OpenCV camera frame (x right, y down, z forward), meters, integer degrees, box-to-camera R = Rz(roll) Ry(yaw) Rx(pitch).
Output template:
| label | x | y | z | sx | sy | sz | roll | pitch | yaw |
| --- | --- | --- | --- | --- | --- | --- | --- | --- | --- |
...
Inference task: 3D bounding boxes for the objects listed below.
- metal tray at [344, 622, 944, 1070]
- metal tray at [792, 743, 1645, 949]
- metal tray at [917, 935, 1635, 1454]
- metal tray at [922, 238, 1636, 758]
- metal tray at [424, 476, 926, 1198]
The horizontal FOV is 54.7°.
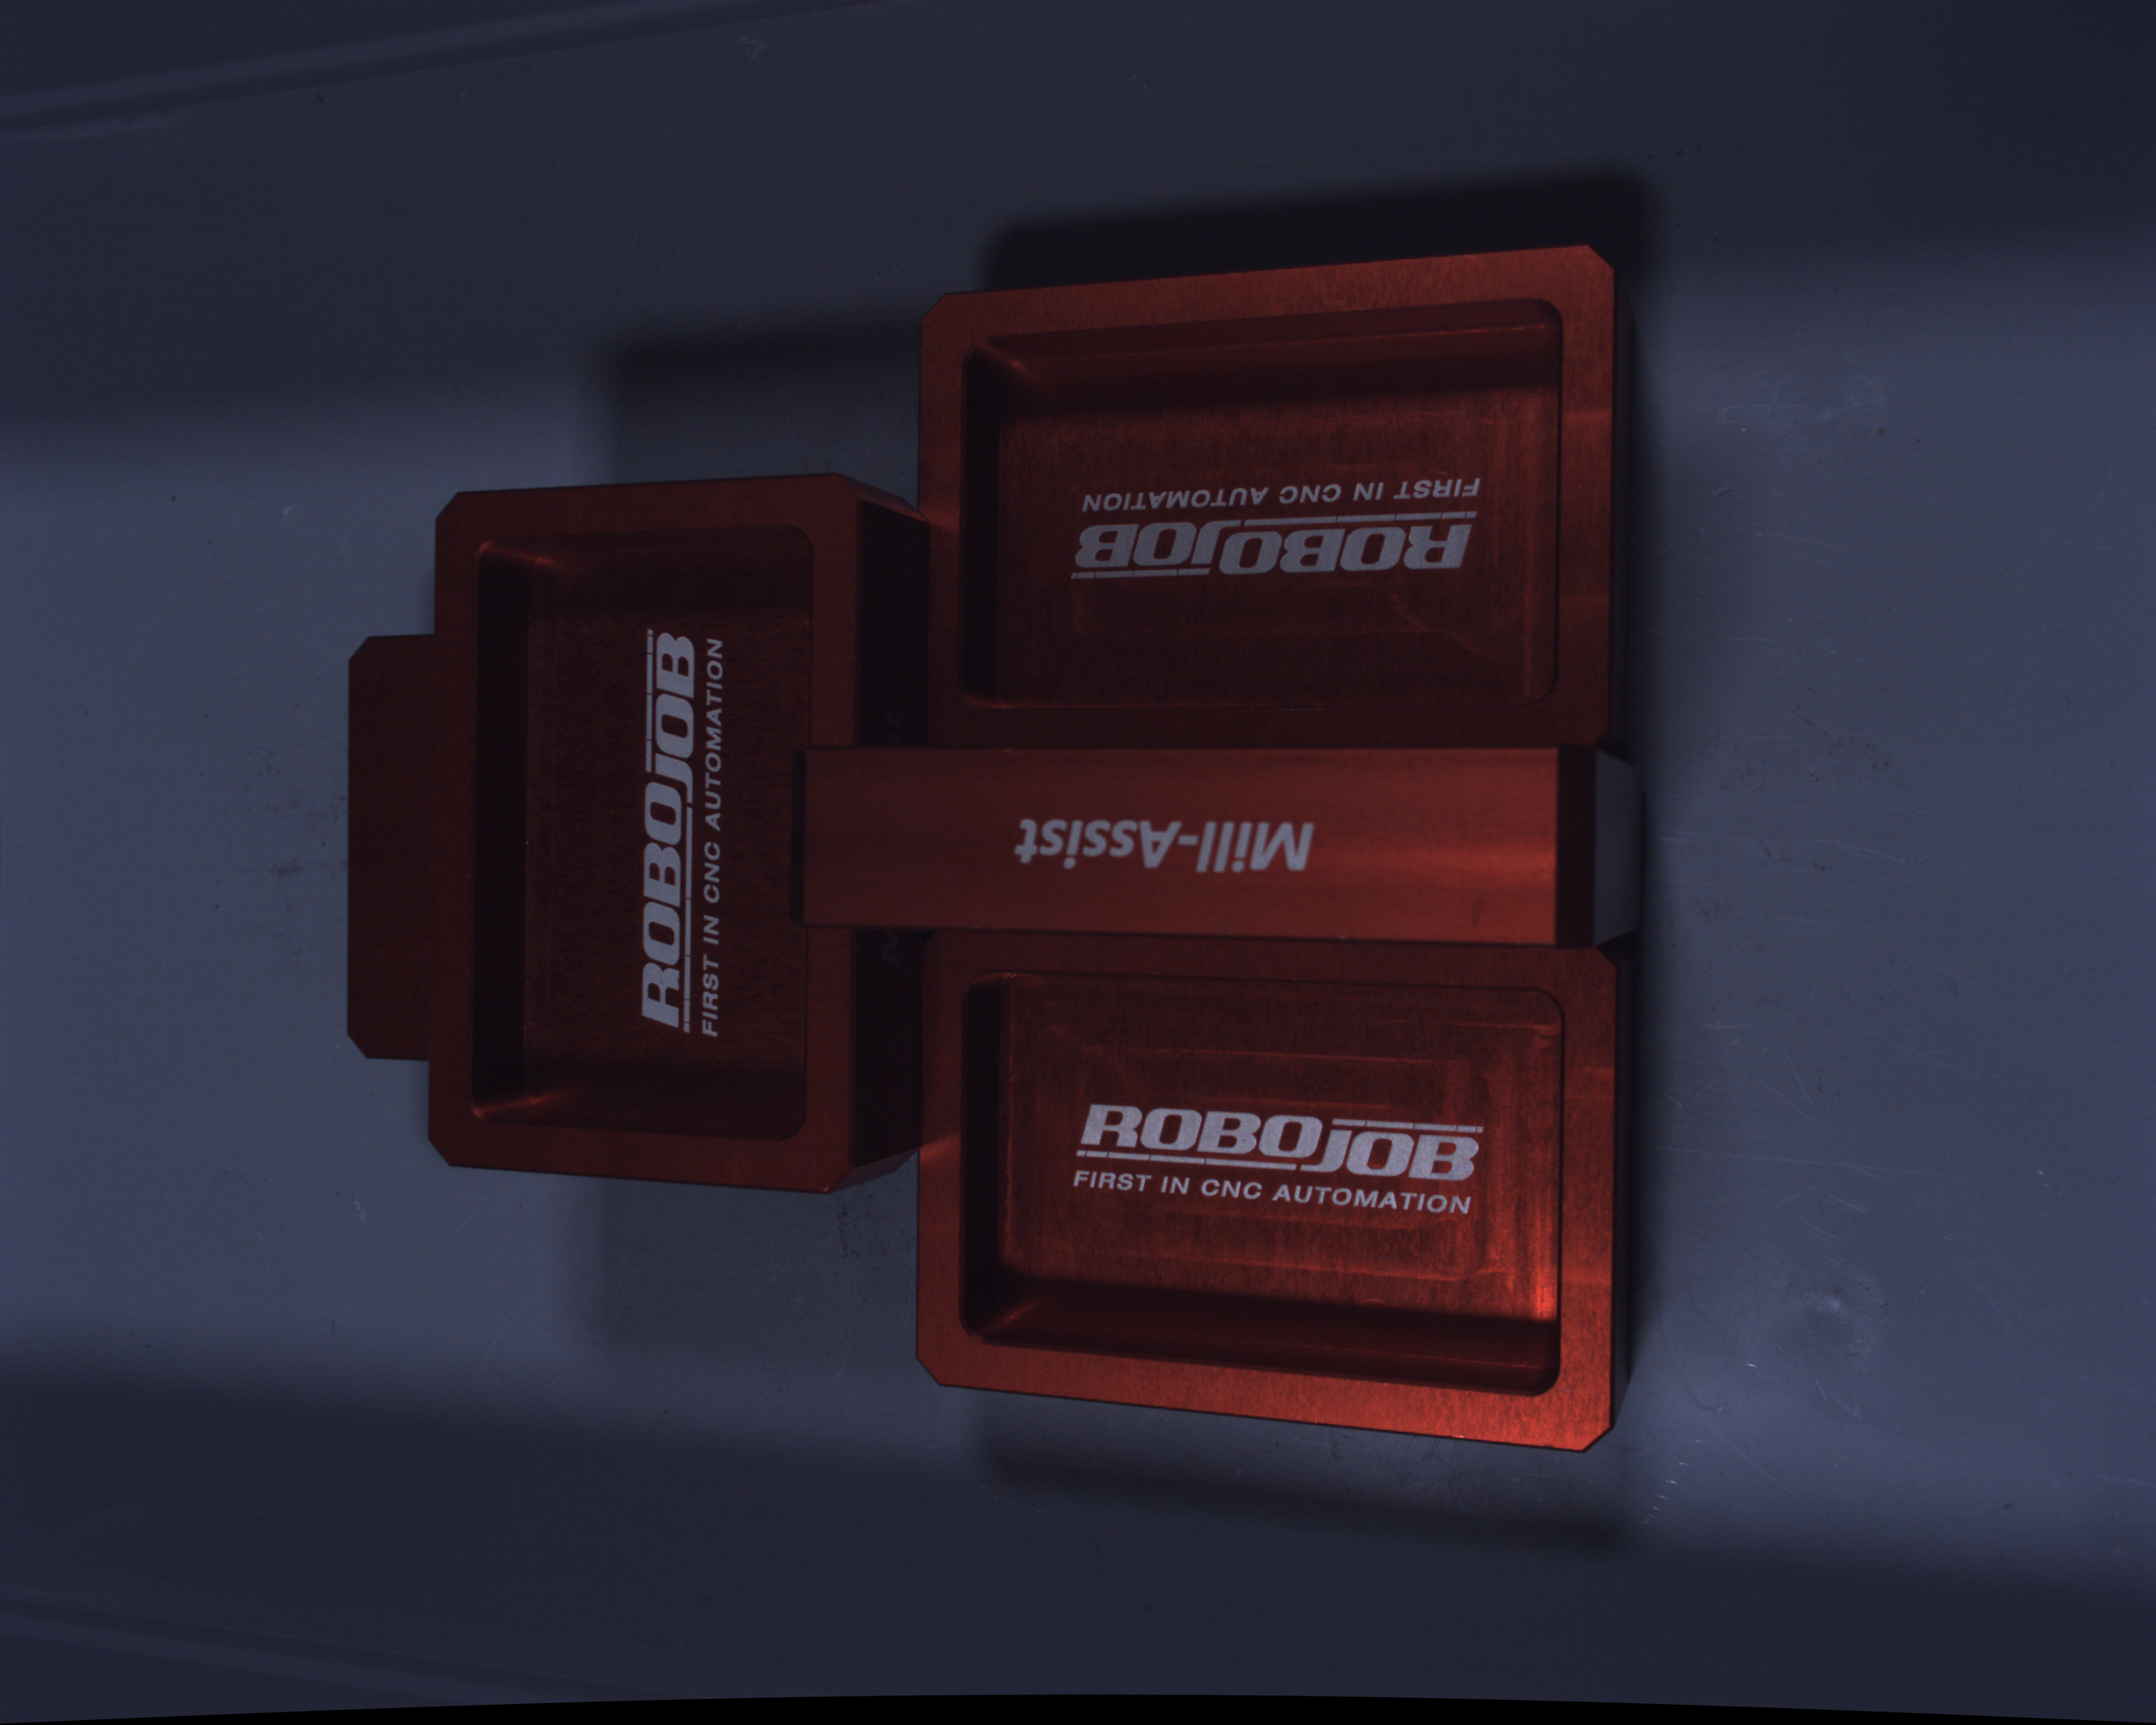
| label | x | y | z | sx | sy | sz | roll | pitch | yaw |
| --- | --- | --- | --- | --- | --- | --- | --- | --- | --- |
| metal tray | -0.090 | -0.003 | 0.435 | 0.130 | 0.030 | 0.089 | 0 | 90 | 19 |
| metal tray | 0.028 | -0.004 | 0.363 | 0.130 | 0.090 | 0.030 | 1 | 91 | 19 |
| metal tray | 0.036 | 0.057 | 0.393 | 0.130 | 0.030 | 0.089 | 1 | 90 | 19 |
| metal tray | 0.036 | -0.064 | 0.393 | 0.130 | 0.030 | 0.089 | 1 | 90 | 19 |
| metal tray | -0.078 | -0.005 | 0.399 | 0.090 | 0.030 | 0.129 | 1 | 90 | 19 |
